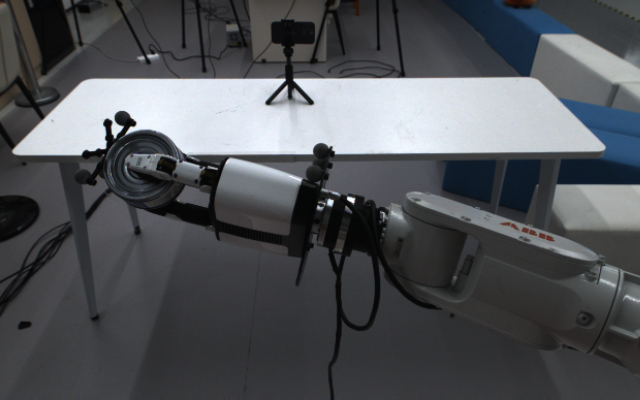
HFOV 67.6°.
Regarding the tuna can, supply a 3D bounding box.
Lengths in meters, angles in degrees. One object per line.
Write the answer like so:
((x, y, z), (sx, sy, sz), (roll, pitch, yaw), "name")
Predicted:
((-0.193, -0.035, 0.544), (0.085, 0.034, 0.085), (0, 75, -1), "tuna can")
